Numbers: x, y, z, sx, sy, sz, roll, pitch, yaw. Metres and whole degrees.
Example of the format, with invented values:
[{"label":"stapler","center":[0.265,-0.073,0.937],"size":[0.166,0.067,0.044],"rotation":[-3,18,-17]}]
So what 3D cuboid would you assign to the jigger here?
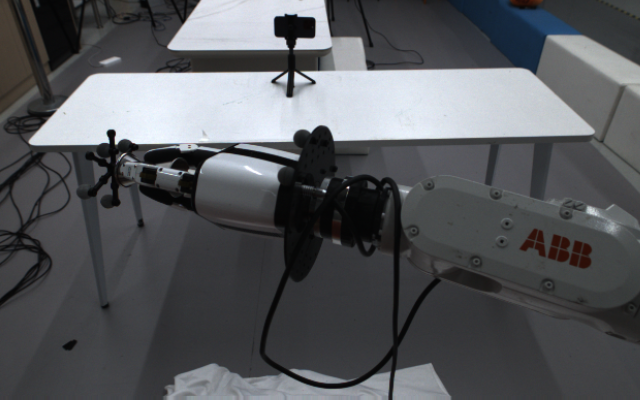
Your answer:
[{"label":"jigger","center":[-0.179,-0.032,0.535],"size":[0.071,0.043,0.043],"rotation":[8,35,15]}]
